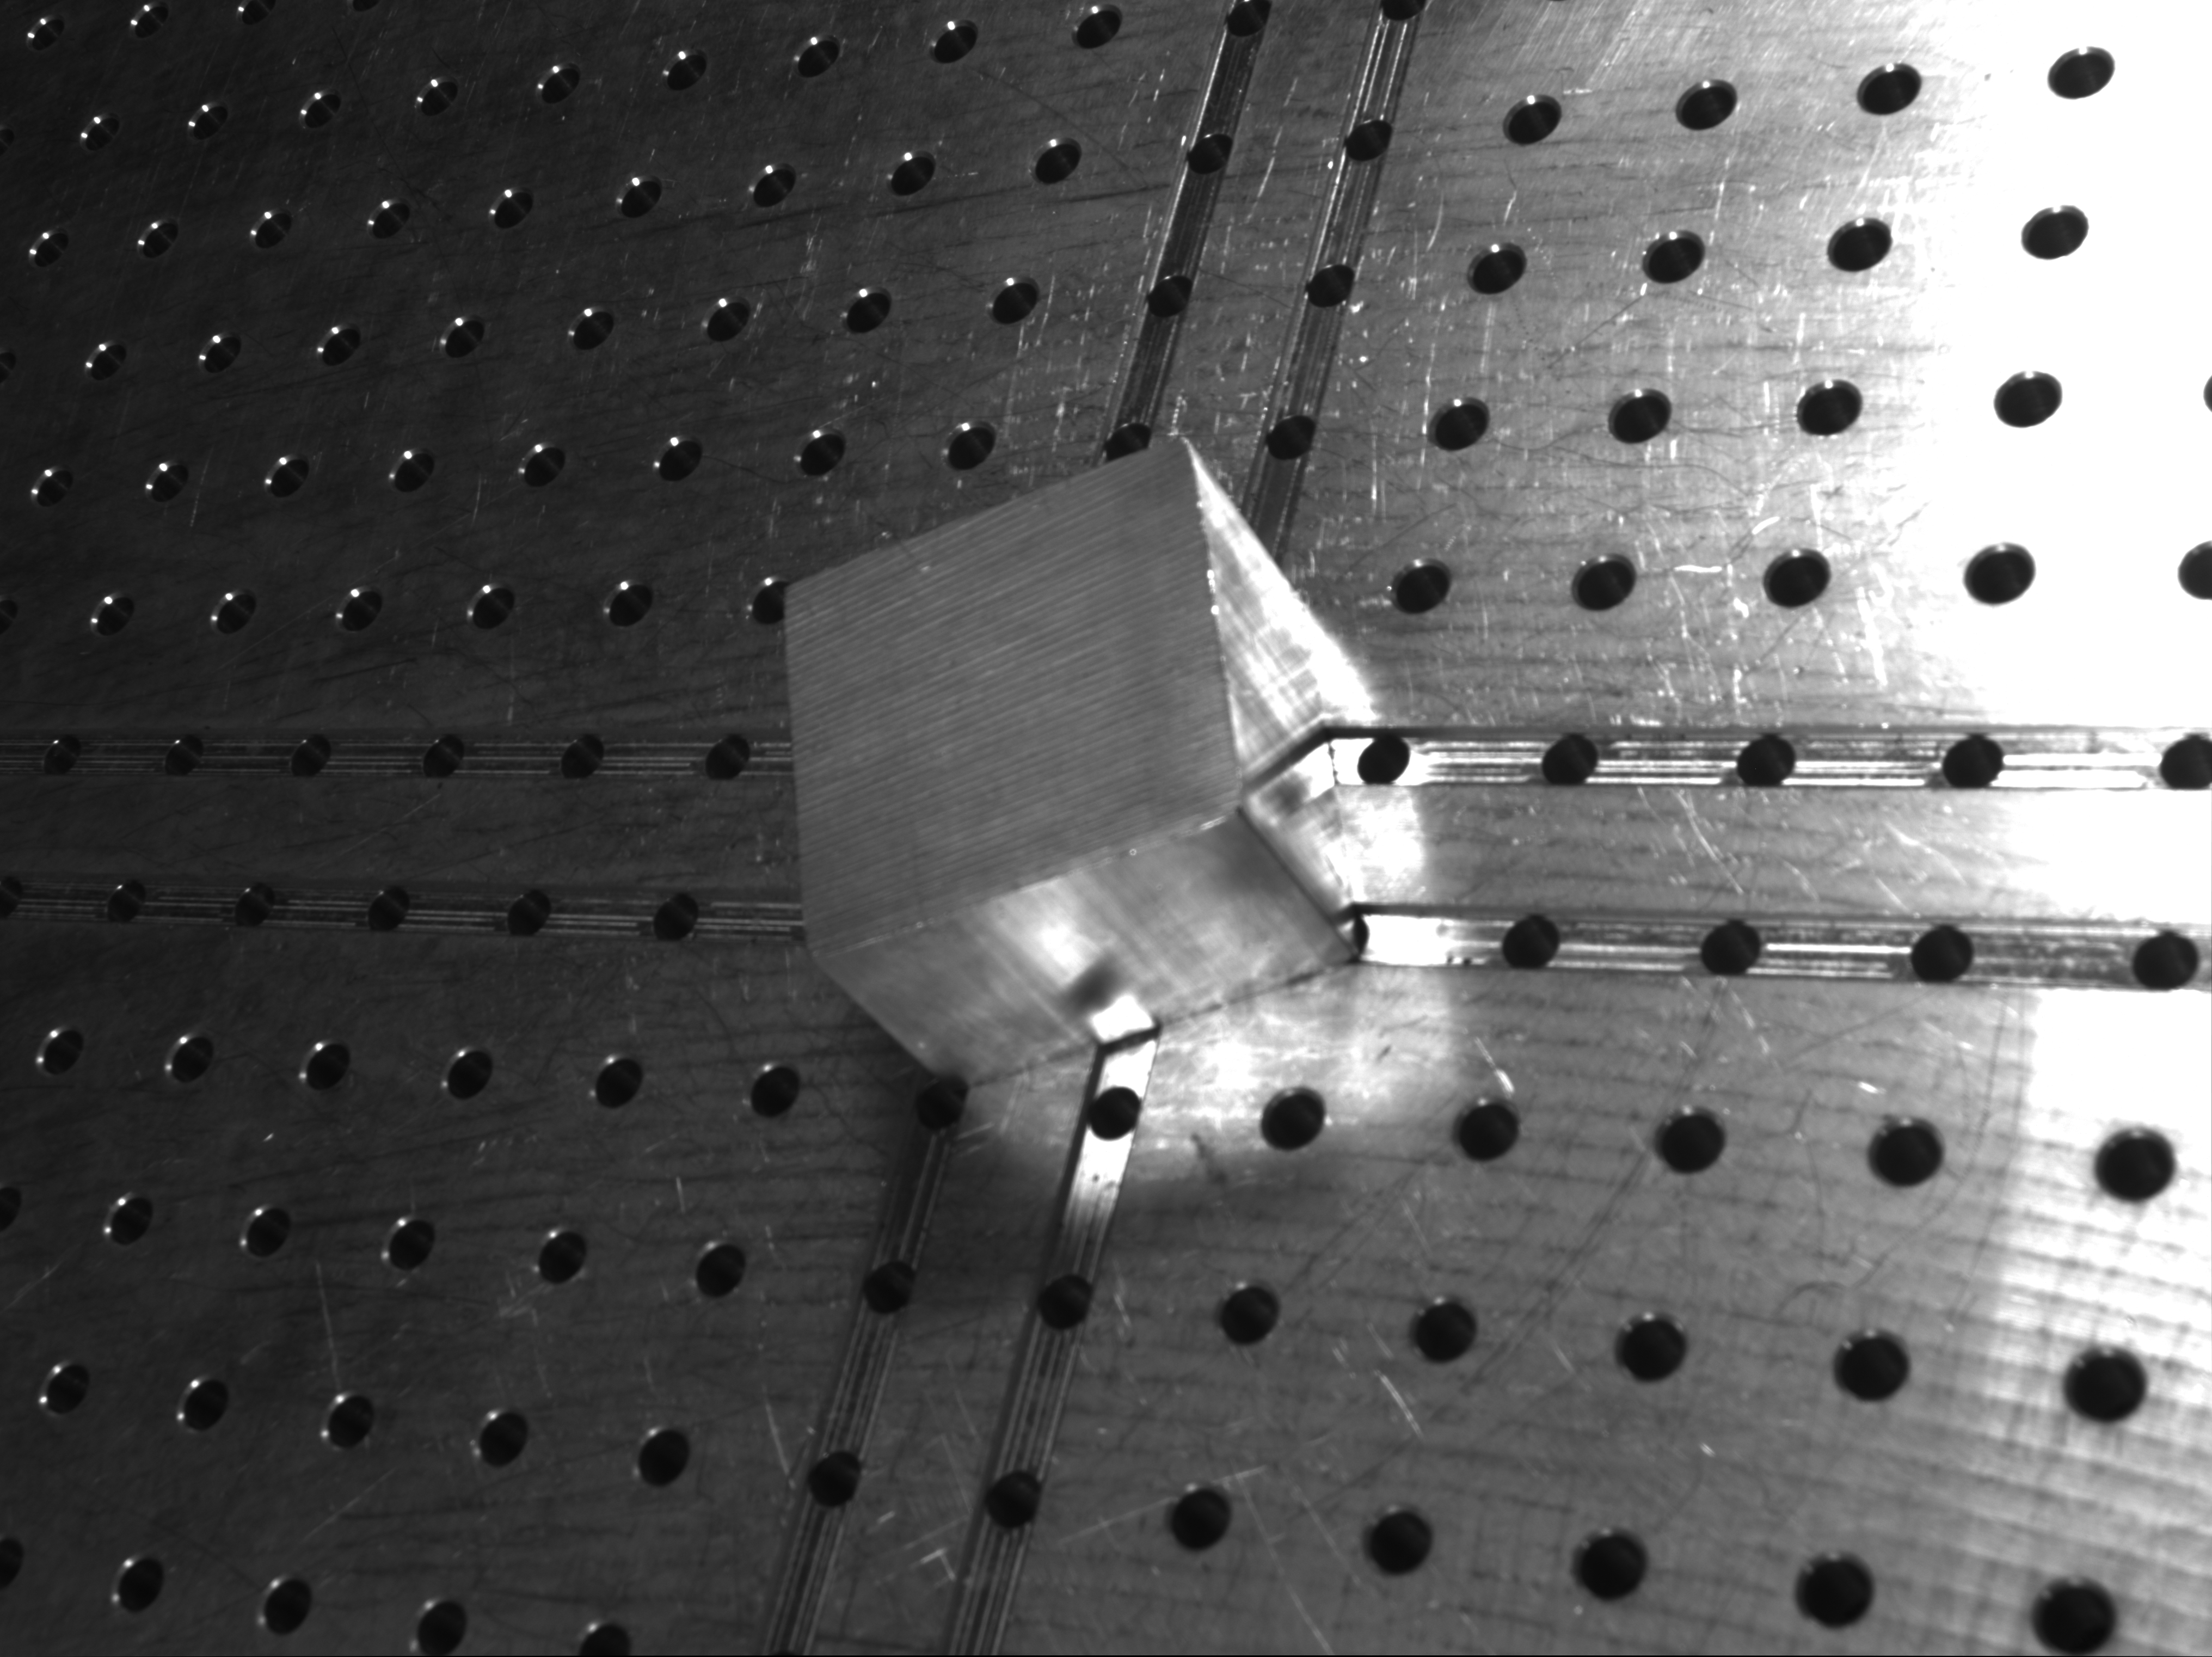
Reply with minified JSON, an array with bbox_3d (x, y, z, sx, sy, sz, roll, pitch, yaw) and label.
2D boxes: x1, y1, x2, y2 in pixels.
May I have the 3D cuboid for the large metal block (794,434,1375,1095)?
[{"bbox_3d":[-0.005,-0.010,0.637,0.080,0.050,0.080,-19,54,17],"label":"large metal block"}]
